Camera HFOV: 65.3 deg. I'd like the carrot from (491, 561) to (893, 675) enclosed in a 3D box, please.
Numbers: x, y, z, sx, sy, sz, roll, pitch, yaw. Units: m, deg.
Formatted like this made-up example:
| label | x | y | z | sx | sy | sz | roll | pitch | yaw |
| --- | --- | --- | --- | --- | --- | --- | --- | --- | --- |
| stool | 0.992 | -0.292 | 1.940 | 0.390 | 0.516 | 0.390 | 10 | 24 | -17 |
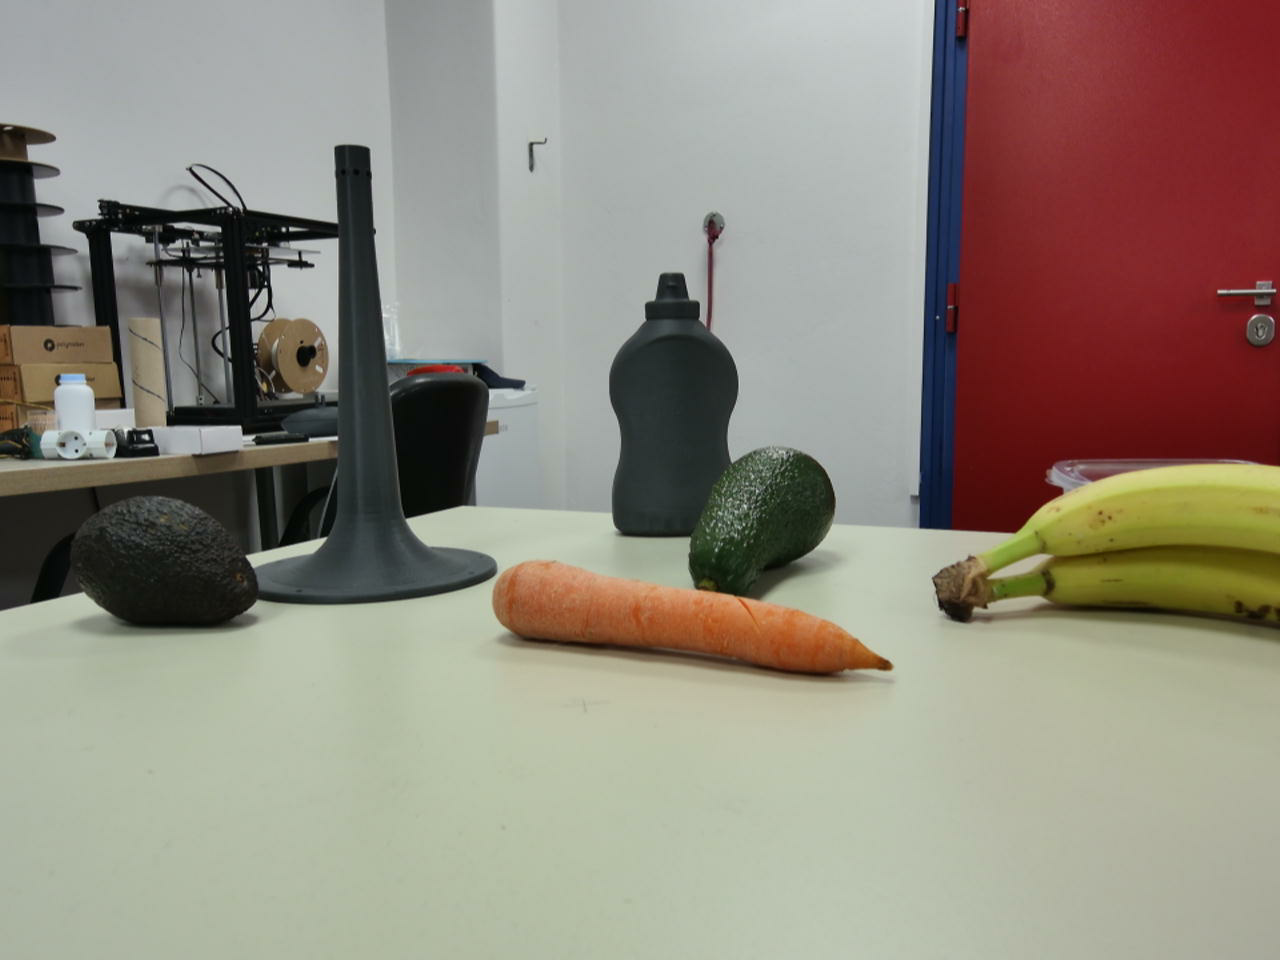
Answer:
| label | x | y | z | sx | sy | sz | roll | pitch | yaw |
| --- | --- | --- | --- | --- | --- | --- | --- | --- | --- |
| carrot | 0.019 | 0.062 | 0.465 | 0.196 | 0.041 | 0.039 | 2 | 4 | 24 |
